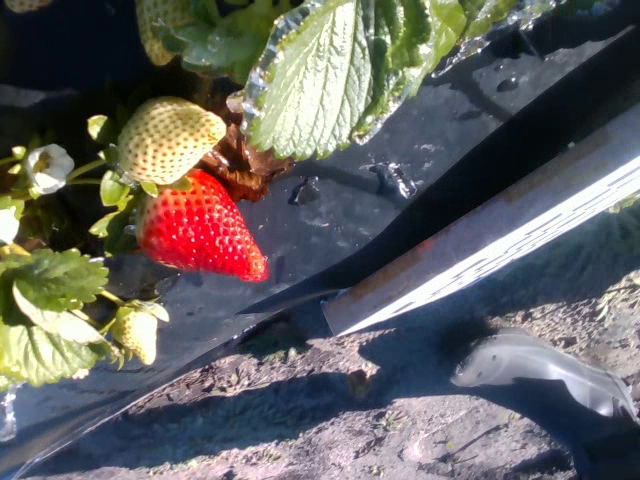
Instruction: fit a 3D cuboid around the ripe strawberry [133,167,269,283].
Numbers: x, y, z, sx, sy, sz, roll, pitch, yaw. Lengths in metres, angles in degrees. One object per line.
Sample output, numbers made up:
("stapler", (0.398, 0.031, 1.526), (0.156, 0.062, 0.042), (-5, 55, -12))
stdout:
("ripe strawberry", (-0.039, -0.001, 0.223), (0.053, 0.042, 0.040), (35, -32, 3))
